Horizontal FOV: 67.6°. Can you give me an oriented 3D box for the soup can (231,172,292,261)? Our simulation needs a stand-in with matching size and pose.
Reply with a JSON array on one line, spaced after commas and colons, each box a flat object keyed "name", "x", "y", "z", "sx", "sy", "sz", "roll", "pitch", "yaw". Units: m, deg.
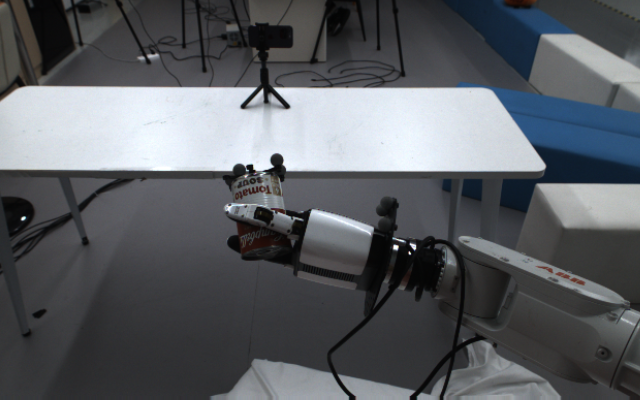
[{"name": "soup can", "x": -0.076, "y": 0.023, "z": 0.636, "sx": 0.067, "sy": 0.067, "sz": 0.101, "roll": -8, "pitch": 74, "yaw": -14}]
